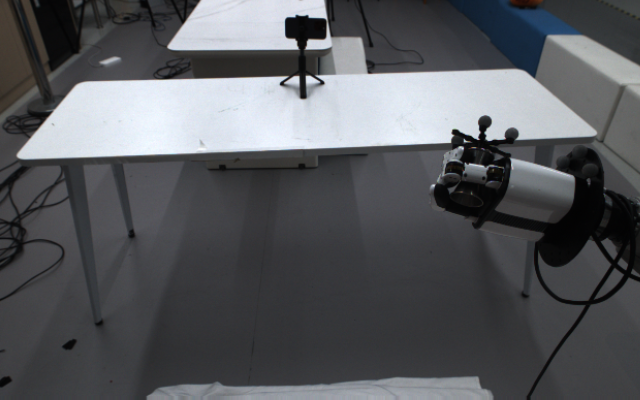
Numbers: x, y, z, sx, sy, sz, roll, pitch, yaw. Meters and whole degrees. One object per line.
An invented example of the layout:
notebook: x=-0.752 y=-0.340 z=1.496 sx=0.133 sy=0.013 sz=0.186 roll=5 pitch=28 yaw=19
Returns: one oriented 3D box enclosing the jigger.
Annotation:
jigger: x=0.203 y=-0.032 z=0.637 sx=0.043 sy=0.043 sz=0.071 roll=15 pitch=70 yaw=18
